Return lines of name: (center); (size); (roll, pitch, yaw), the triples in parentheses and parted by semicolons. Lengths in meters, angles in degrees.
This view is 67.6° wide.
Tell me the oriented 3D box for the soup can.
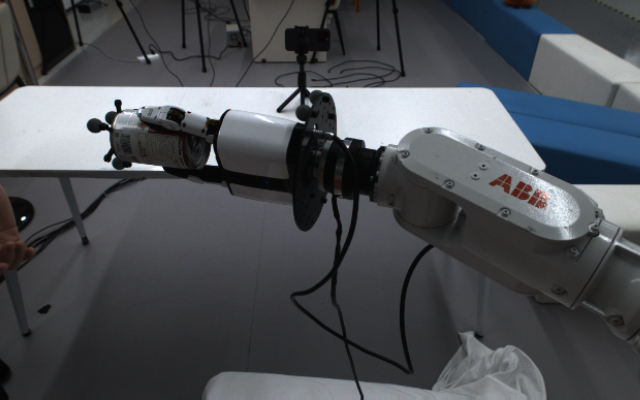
soup can: (-0.194, -0.074, 0.600); (0.101, 0.067, 0.067); (7, 35, 10)
